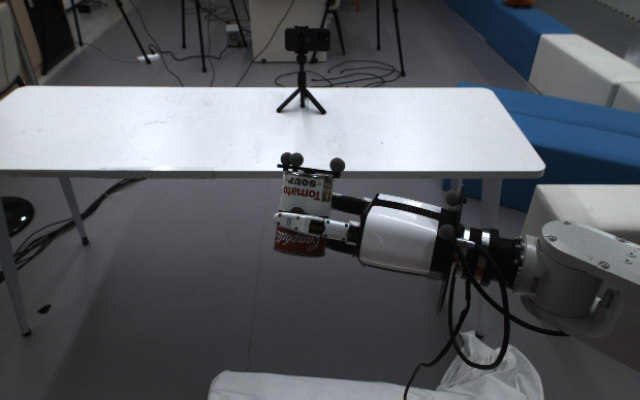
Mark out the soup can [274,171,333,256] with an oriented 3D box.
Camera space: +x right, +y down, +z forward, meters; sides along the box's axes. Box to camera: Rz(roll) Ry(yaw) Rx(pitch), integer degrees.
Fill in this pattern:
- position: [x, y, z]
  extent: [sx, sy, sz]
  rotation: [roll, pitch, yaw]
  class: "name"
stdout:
- position: [-0.018, 0.016, 0.621]
  extent: [0.067, 0.101, 0.067]
  rotation: [7, 4, 0]
  class: "soup can"
